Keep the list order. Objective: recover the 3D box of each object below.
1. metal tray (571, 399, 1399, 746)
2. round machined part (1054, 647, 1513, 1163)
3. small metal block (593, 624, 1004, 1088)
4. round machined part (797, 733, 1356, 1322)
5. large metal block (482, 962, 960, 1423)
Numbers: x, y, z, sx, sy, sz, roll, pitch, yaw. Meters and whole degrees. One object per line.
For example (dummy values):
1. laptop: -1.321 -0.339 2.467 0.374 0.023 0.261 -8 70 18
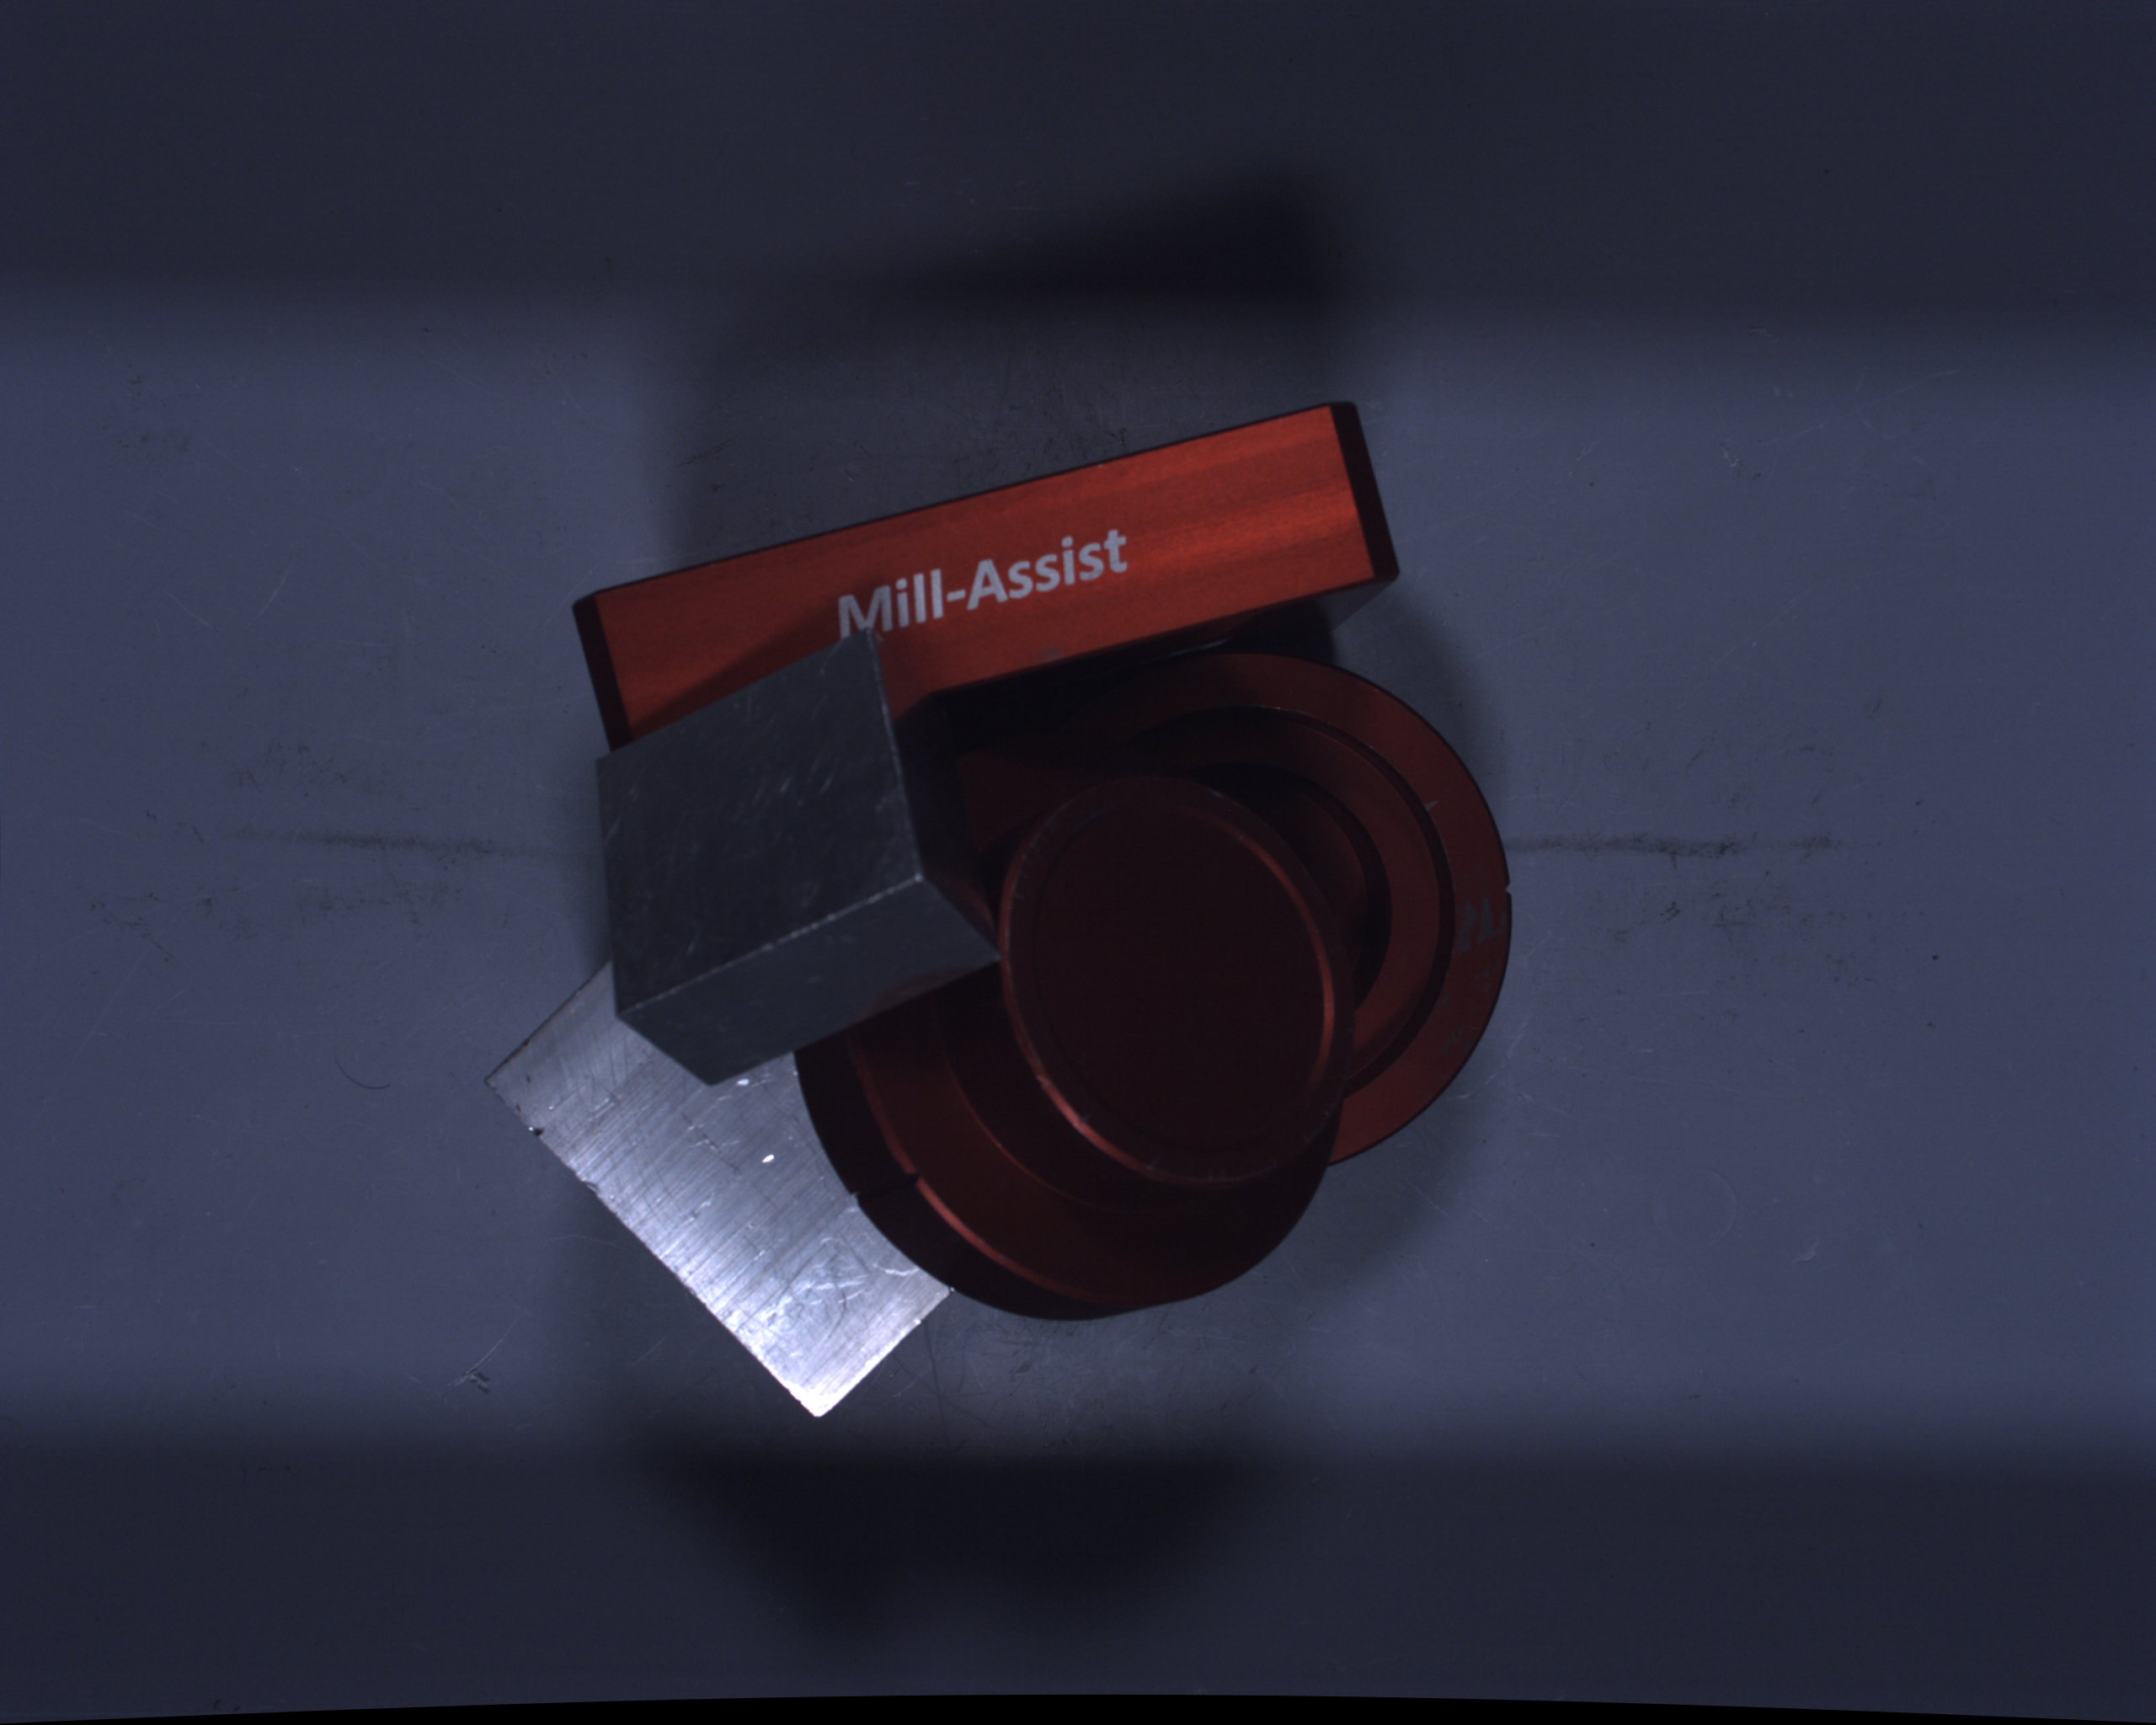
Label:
1. metal tray: -0.015 -0.045 0.377 0.131 0.090 0.030 -15 91 -1
2. round machined part: 0.031 0.009 0.403 0.099 0.042 0.097 0 90 -1
3. small metal block: -0.044 -0.001 0.317 0.050 0.025 0.050 -24 51 12
4. round machined part: 0.006 0.024 0.344 0.099 0.042 0.098 14 65 -31
5. large metal block: -0.052 0.046 0.382 0.050 0.080 0.080 -44 91 0
